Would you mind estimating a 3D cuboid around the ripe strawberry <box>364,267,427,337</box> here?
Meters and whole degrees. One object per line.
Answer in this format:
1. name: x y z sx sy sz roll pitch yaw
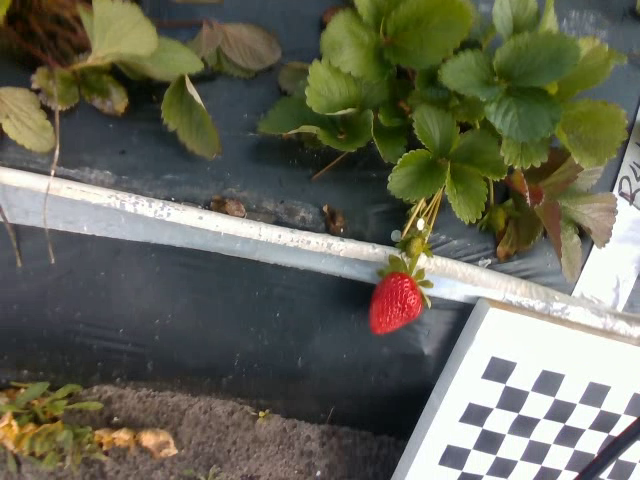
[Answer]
1. ripe strawberry: 0.049 0.046 0.371 0.052 0.048 0.030 -41 24 -16
